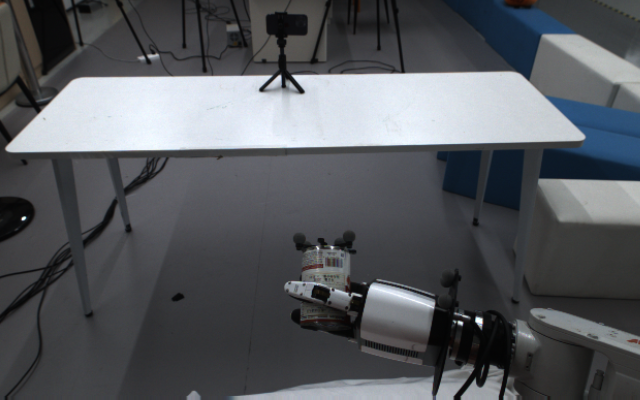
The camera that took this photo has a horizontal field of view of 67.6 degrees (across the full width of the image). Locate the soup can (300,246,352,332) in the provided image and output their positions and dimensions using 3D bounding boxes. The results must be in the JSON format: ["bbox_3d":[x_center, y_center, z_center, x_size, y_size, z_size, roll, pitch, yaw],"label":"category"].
[{"bbox_3d":[0.009,0.119,0.645,0.067,0.067,0.101,1,68,-1],"label":"soup can"}]
